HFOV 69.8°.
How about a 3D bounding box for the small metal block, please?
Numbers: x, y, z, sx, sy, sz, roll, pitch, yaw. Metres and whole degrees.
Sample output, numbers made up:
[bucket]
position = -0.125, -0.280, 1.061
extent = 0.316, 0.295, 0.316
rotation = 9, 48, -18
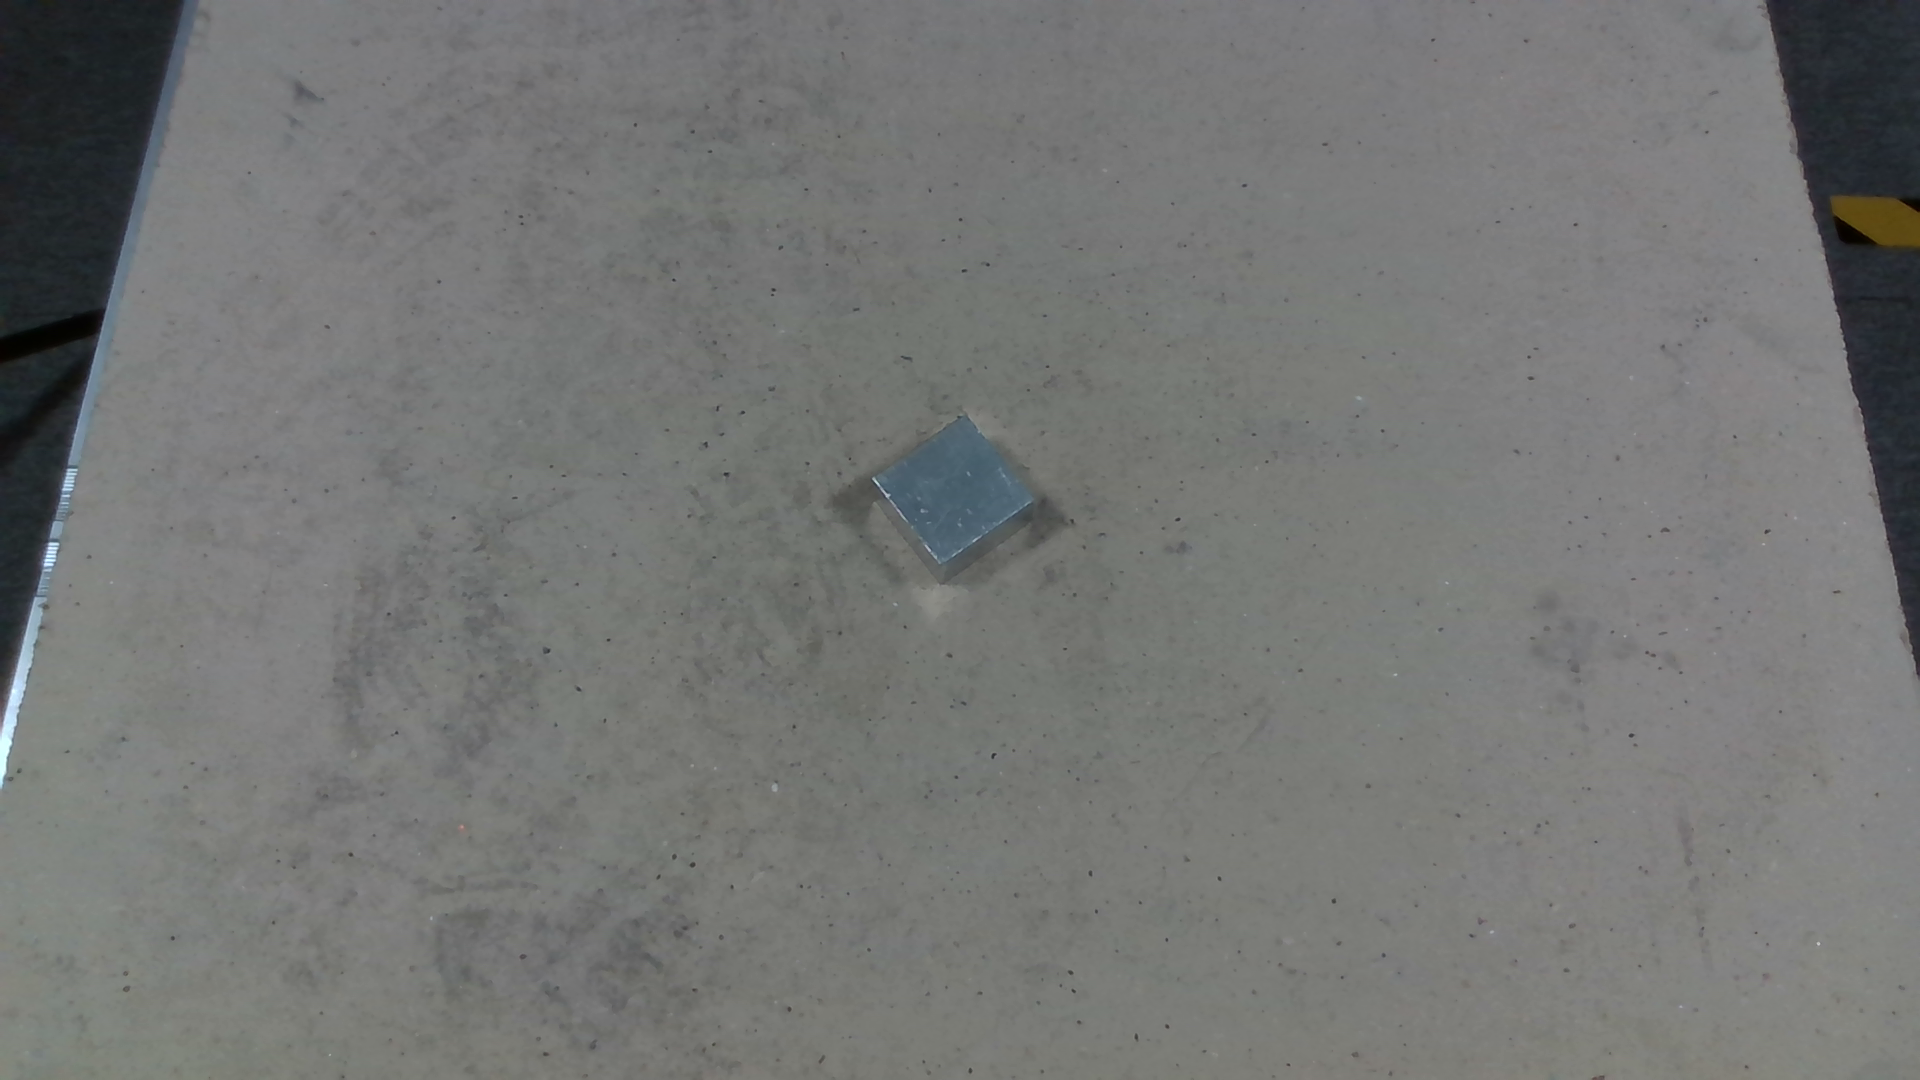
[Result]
[small metal block]
position = -0.003, -0.018, 0.595
extent = 0.050, 0.025, 0.050
rotation = -35, 74, -12
